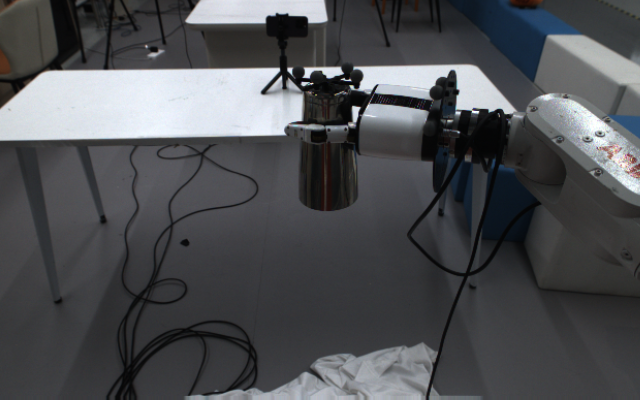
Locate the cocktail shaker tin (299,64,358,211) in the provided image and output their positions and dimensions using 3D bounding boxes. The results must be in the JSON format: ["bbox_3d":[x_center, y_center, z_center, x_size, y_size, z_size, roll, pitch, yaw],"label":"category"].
[{"bbox_3d":[0.014,-0.084,0.701,0.093,0.170,0.093,-1,32,1],"label":"cocktail shaker tin"}]
